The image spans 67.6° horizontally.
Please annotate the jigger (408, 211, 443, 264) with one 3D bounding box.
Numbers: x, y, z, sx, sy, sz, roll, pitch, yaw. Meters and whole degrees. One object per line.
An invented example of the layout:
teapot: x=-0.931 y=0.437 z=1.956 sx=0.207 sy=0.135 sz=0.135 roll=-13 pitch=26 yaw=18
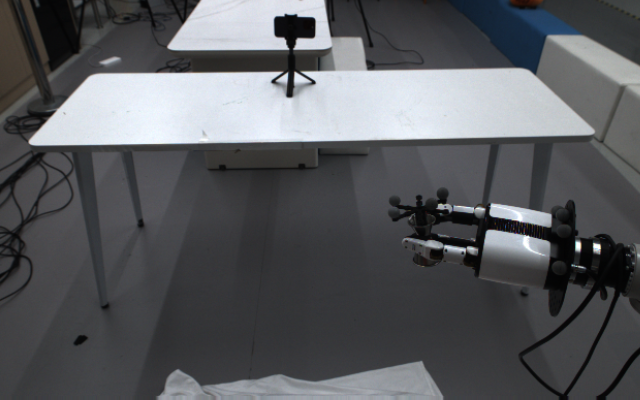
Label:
jigger: x=0.153 y=0.057 z=0.717 sx=0.043 sy=0.071 sz=0.043 roll=-11 pitch=25 yaw=5
